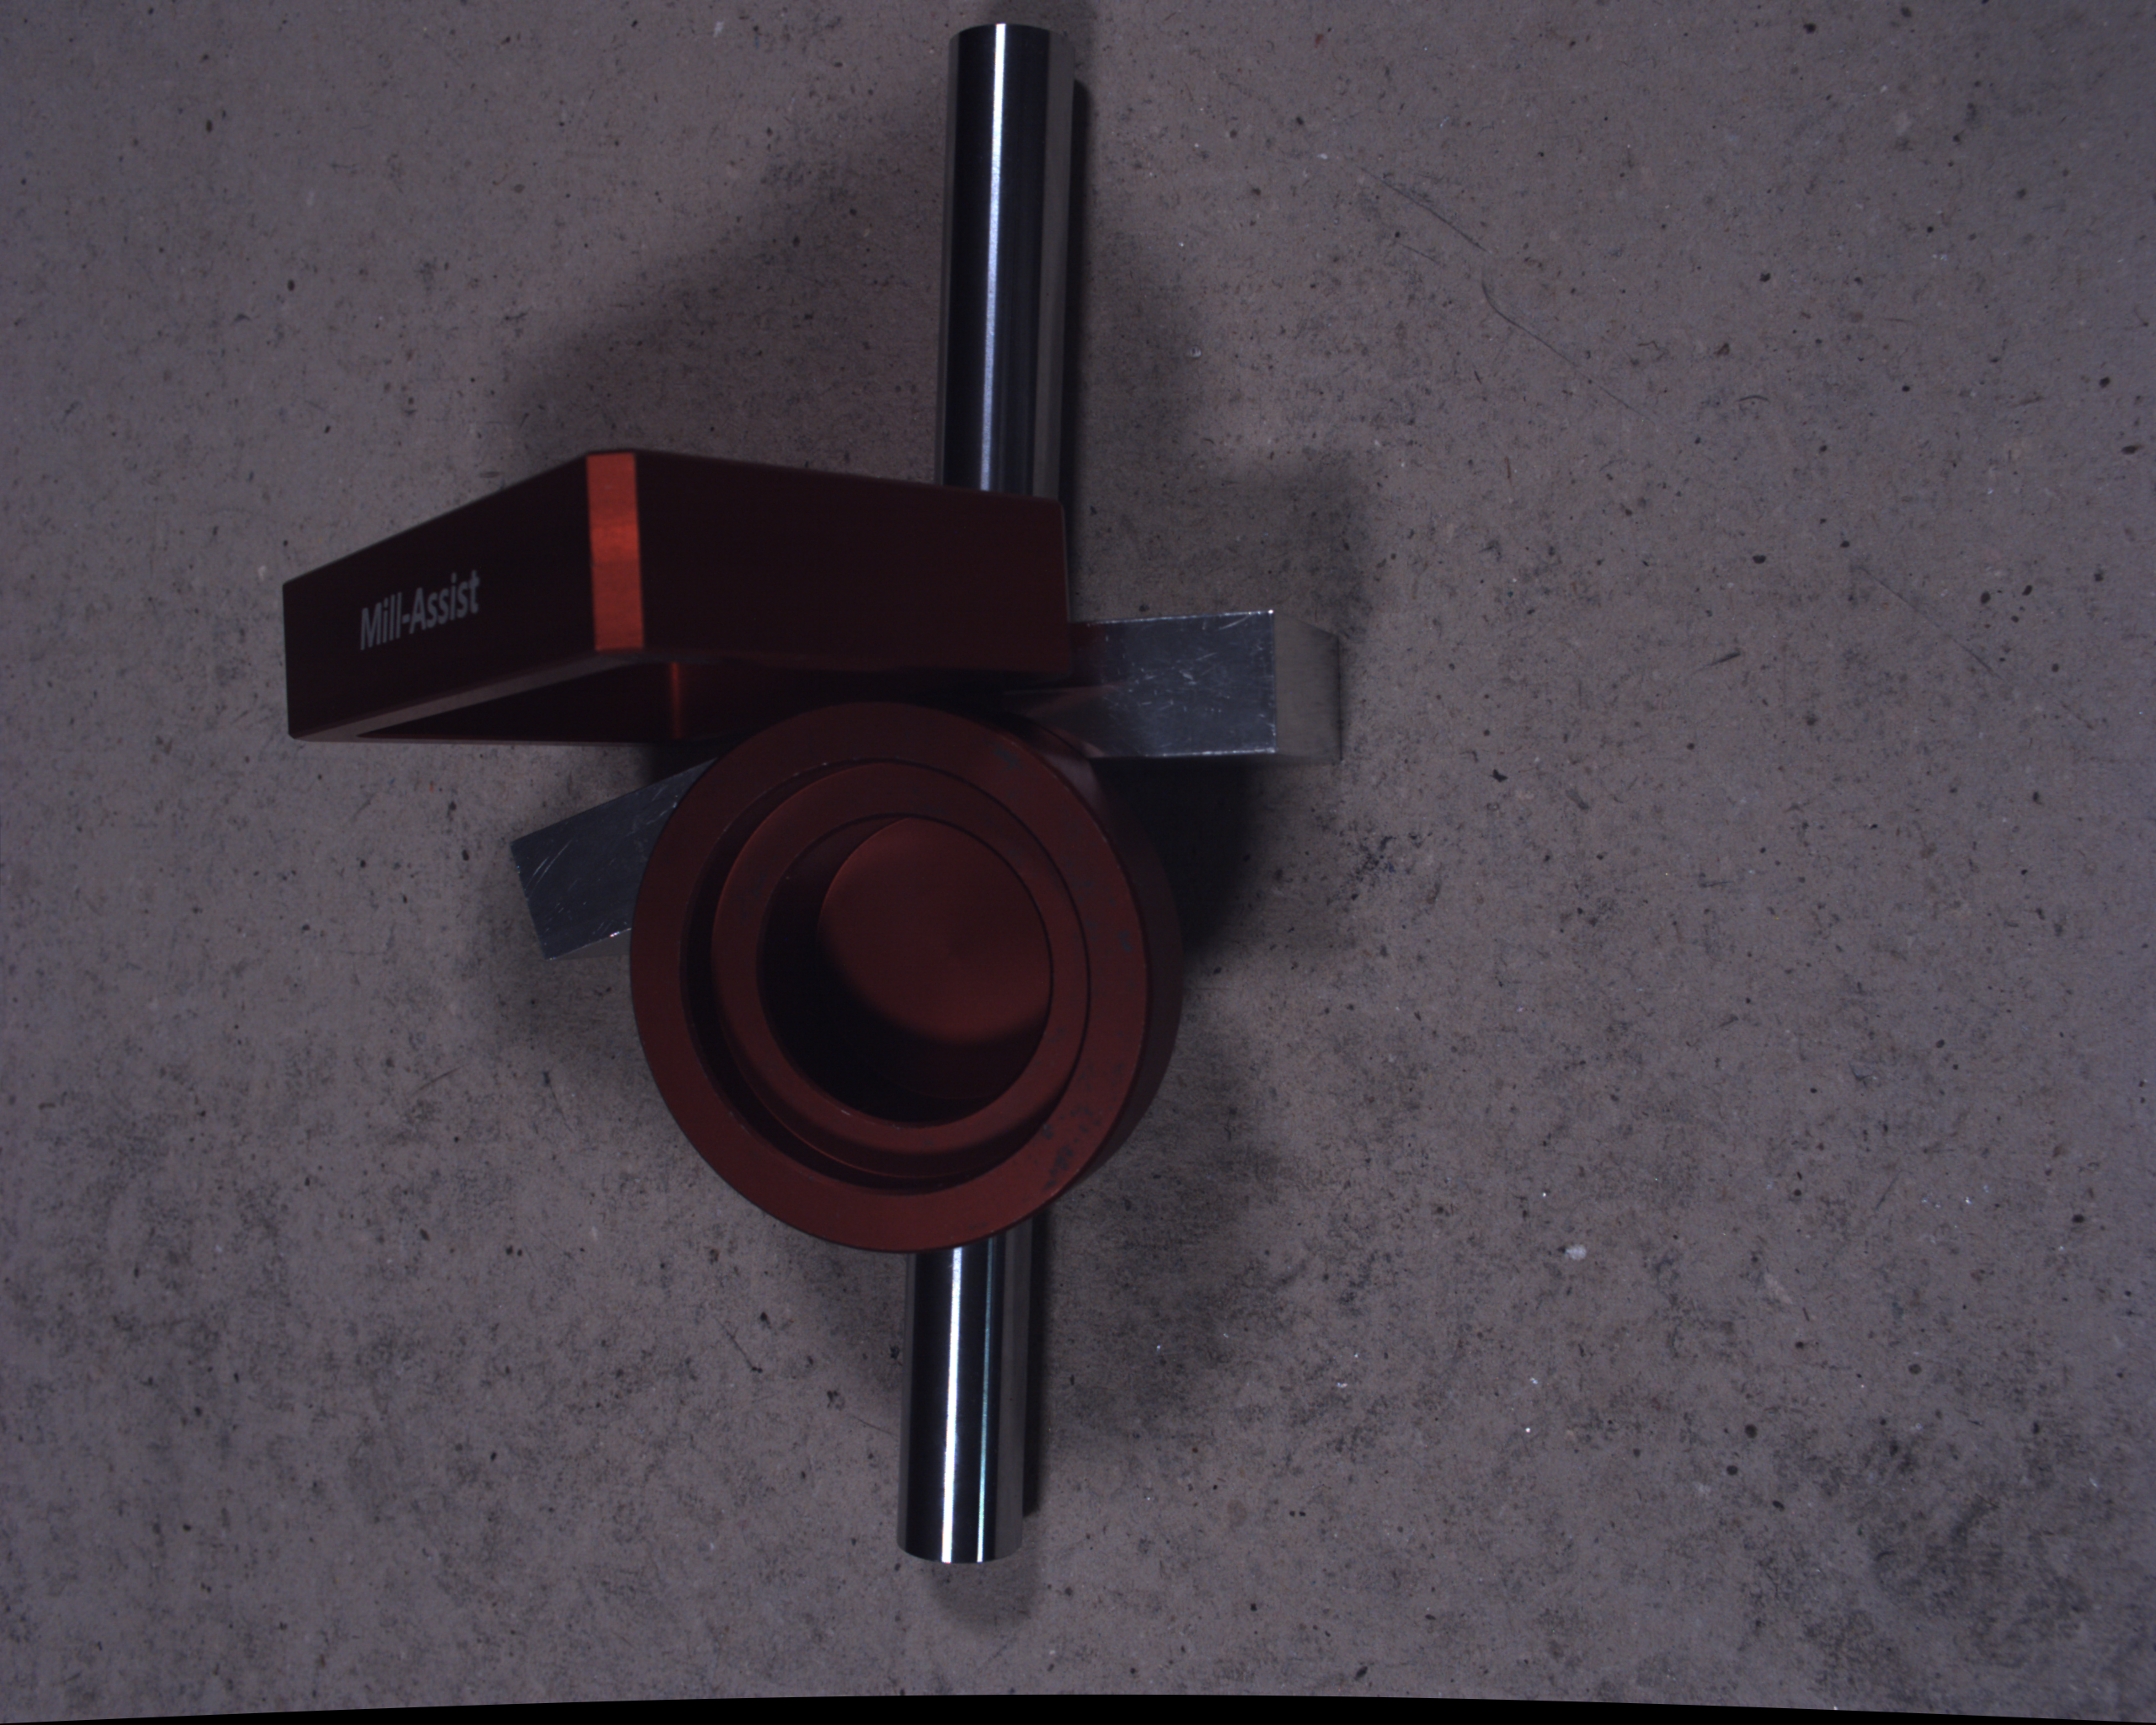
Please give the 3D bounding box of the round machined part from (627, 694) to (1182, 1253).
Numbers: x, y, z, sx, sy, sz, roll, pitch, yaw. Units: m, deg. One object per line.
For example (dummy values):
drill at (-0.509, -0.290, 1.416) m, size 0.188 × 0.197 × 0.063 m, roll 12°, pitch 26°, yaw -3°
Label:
round machined part at (-0.028, 0.018, 0.381) m, size 0.098 × 0.042 × 0.097 m, roll 1°, pitch 94°, yaw 17°

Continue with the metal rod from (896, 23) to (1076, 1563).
metal rod at (-0.018, -0.013, 0.416) m, size 0.025 × 0.025 × 0.298 m, roll 2°, pitch 91°, yaw 19°

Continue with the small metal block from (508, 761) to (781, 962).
small metal block at (-0.077, -0.001, 0.423) m, size 0.050 × 0.050 × 0.025 m, roll -20°, pitch 84°, yaw 18°

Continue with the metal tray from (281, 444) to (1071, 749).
metal tray at (-0.076, -0.043, 0.377) m, size 0.130 × 0.091 × 0.030 m, roll -5°, pitch 87°, yaw 49°

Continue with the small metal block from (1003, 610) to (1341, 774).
small metal block at (0.019, -0.030, 0.390) m, size 0.050 × 0.050 × 0.025 m, roll -2°, pitch 90°, yaw 19°
